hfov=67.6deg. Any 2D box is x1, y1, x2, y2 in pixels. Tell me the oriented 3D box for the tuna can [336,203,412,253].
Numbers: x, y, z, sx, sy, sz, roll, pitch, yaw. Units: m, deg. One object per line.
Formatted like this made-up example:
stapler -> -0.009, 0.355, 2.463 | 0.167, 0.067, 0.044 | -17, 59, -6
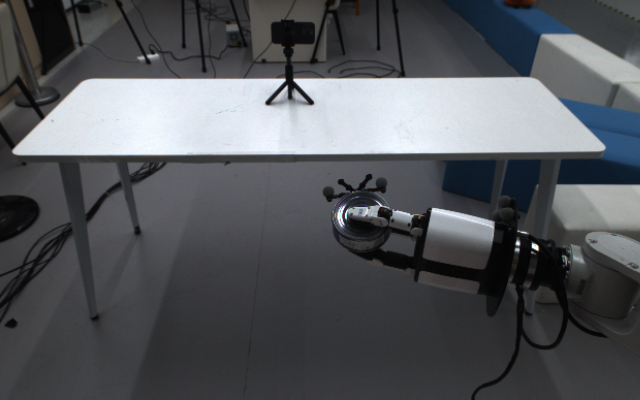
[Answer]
tuna can -> 0.064, 0.036, 0.686 | 0.085, 0.034, 0.085 | -3, 58, 5
